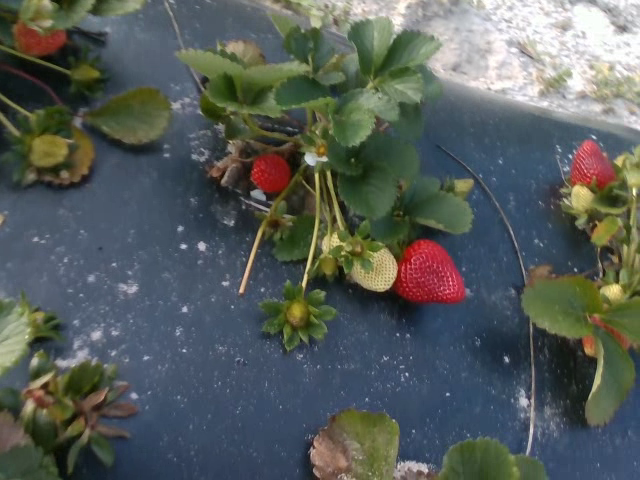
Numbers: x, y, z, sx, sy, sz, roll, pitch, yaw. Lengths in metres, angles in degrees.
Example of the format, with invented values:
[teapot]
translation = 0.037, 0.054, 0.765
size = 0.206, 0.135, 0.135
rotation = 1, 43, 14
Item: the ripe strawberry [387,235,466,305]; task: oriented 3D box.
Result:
[ripe strawberry]
translation = 0.082, 0.031, 0.425
size = 0.048, 0.051, 0.055
rotation = 37, 6, -47
